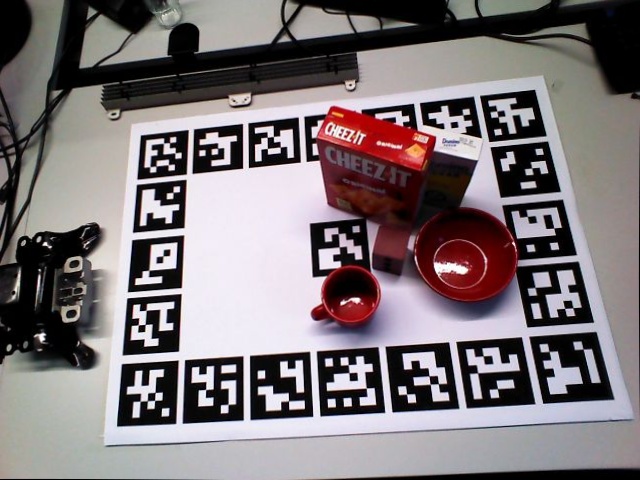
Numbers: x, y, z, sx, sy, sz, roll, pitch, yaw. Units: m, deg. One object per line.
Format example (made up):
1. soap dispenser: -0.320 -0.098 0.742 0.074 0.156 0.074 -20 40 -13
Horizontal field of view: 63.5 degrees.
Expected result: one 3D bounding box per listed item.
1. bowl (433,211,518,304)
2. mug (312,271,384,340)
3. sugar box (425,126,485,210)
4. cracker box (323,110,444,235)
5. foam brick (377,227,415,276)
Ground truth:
1. bowl: 0.247 0.038 0.820 0.162 0.055 0.161 -3 69 6
2. mug: 0.045 0.109 0.811 0.117 0.081 0.093 -14 59 4
3. sugar box: 0.207 -0.113 0.830 0.093 0.177 0.045 15 71 13
4. cracker box: 0.096 -0.098 0.820 0.165 0.214 0.071 24 71 15
5. foam brick: 0.124 0.020 0.847 0.053 0.078 0.051 10 69 11
